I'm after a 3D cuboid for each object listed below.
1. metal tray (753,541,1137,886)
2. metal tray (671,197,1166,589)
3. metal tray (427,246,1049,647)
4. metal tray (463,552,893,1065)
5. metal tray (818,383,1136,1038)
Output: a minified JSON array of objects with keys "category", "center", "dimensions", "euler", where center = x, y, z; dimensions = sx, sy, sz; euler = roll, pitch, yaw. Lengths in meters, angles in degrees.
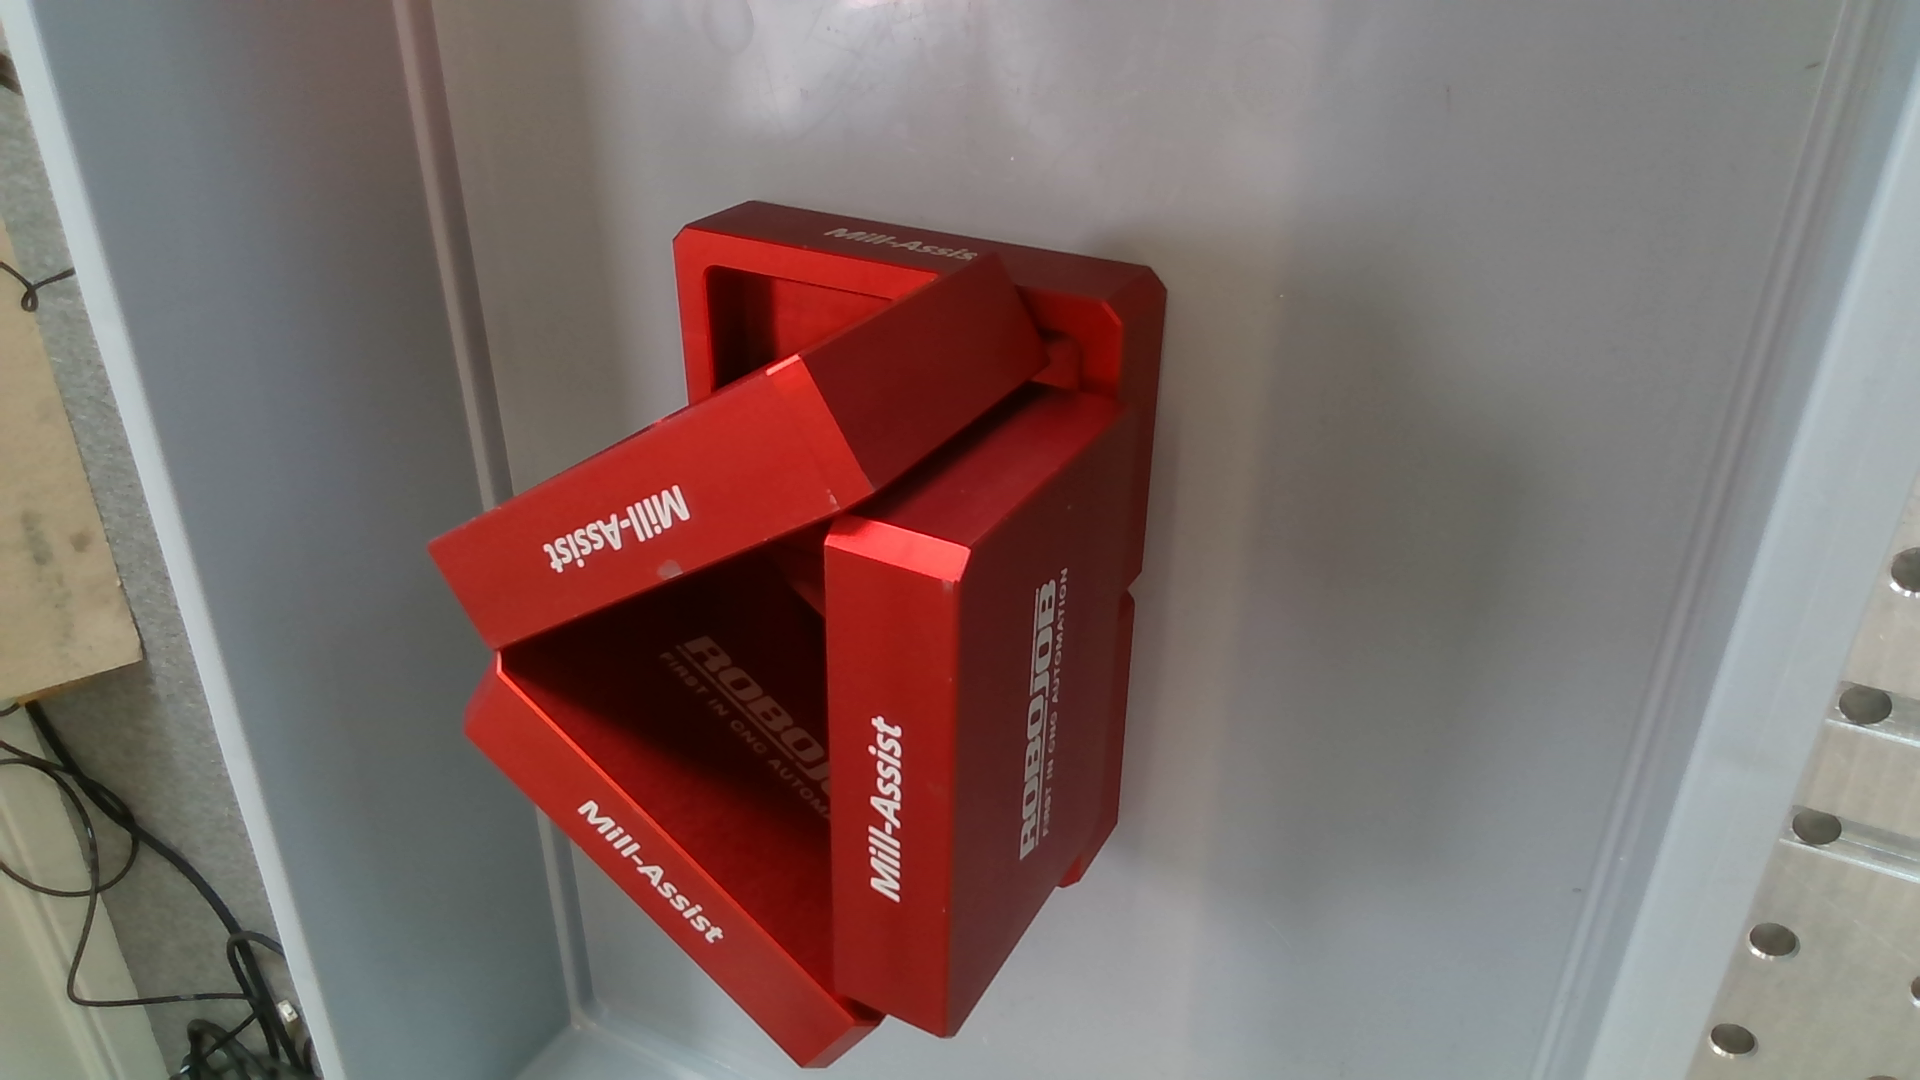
[{"category":"metal tray","center":[-0.016,0.043,0.418],"dimensions":[0.130,0.030,0.090],"euler":[15,122,23]},{"category":"metal tray","center":[-0.014,-0.038,0.374],"dimensions":[0.130,0.030,0.090],"euler":[14,121,24]},{"category":"metal tray","center":[-0.053,-0.021,0.327],"dimensions":[0.130,0.090,0.030],"euler":[-19,103,37]},{"category":"metal tray","center":[-0.056,0.063,0.374],"dimensions":[0.130,0.090,0.030],"euler":[44,129,4]},{"category":"metal tray","center":[0.005,0.038,0.323],"dimensions":[0.030,0.090,0.130],"euler":[16,122,24]}]
